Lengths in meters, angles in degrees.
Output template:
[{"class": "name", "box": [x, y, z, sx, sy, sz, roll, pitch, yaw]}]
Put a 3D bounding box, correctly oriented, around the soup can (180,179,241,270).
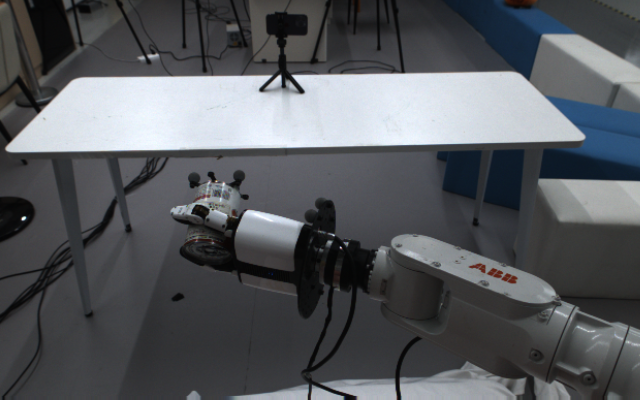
[{"class": "soup can", "box": [-0.152, 0.032, 0.683, 0.067, 0.067, 0.101, 3, 56, 1]}]
